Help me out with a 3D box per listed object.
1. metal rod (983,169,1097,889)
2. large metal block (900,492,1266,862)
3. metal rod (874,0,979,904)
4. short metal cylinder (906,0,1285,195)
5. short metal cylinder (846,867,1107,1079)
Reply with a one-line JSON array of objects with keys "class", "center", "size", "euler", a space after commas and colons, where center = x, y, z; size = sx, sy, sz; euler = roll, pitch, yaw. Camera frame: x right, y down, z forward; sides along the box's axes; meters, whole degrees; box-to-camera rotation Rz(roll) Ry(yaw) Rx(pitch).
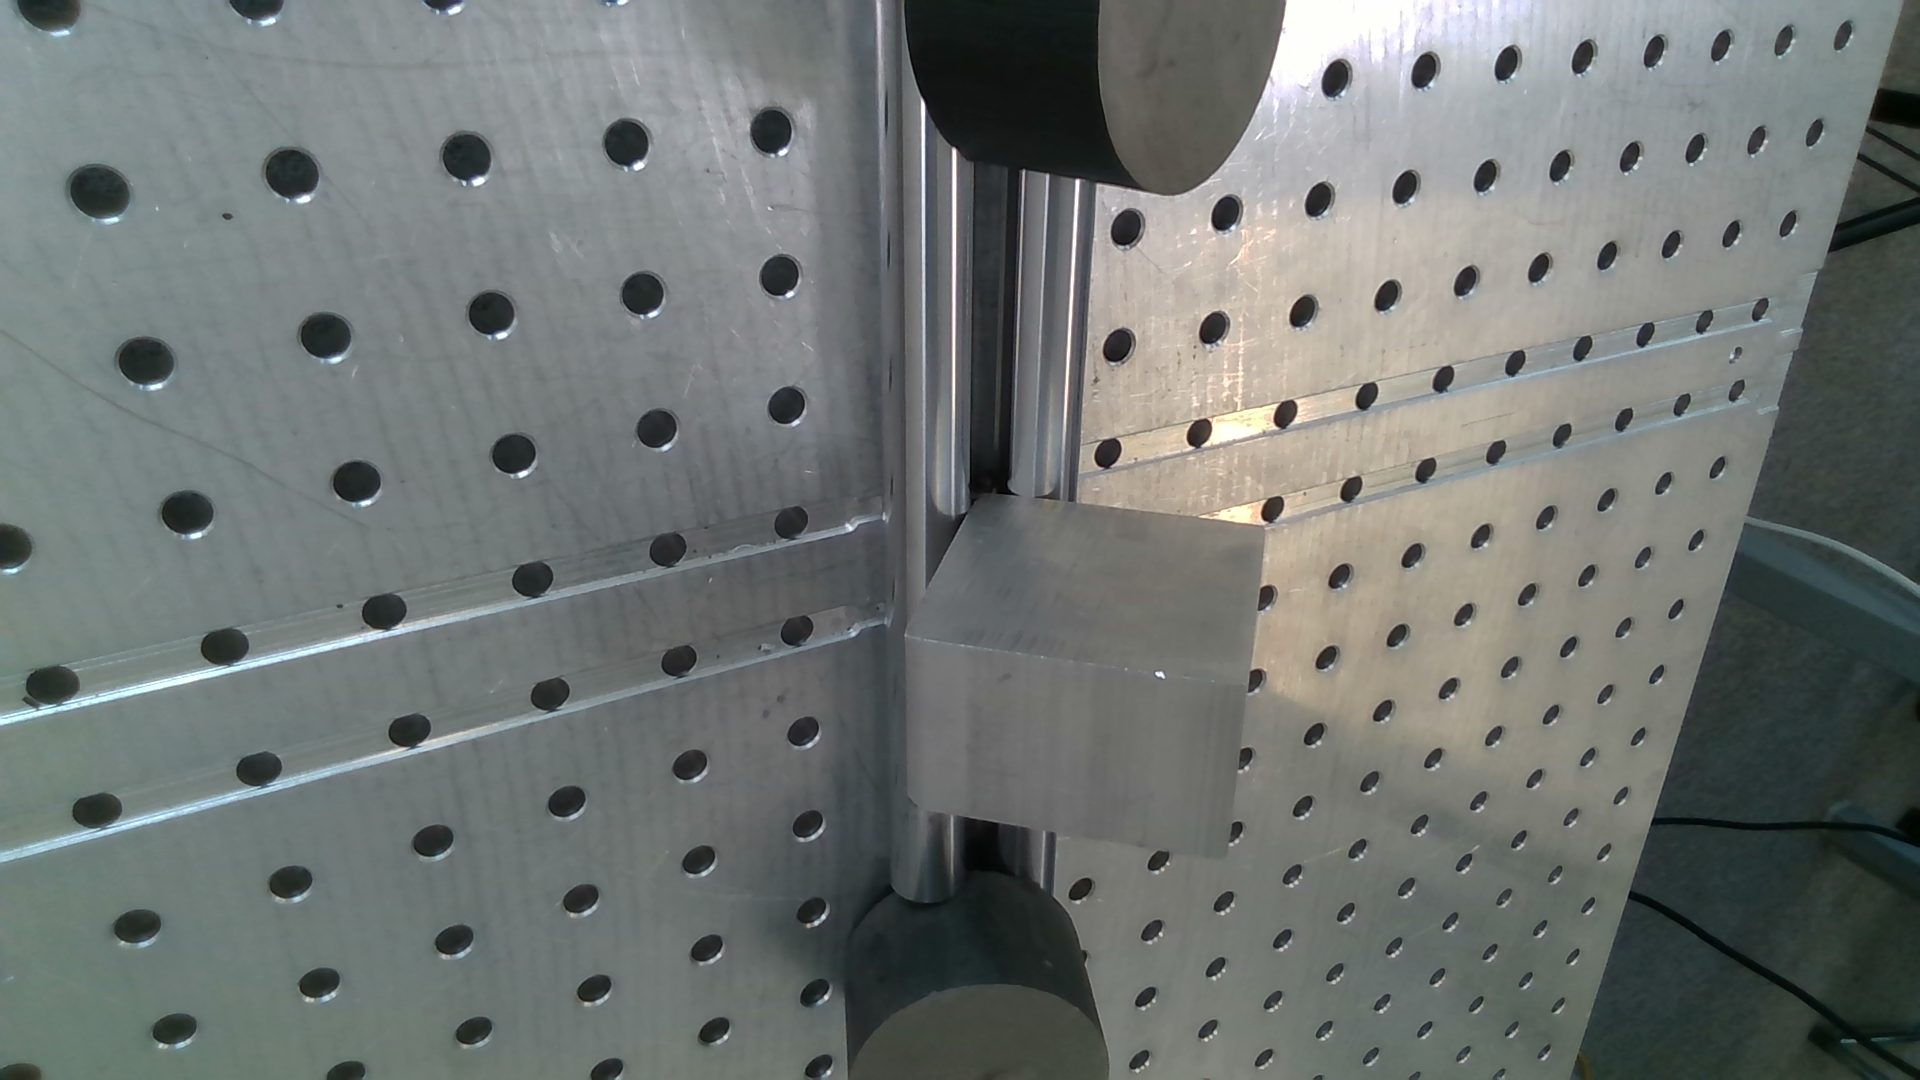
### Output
[{"class": "metal rod", "center": [0.021, 0.034, 0.423], "size": [0.025, 0.025, 0.301], "euler": [-14, 121, -25]}, {"class": "large metal block", "center": [0.034, 0.031, 0.357], "size": [0.080, 0.080, 0.050], "euler": [7, 119, 12]}, {"class": "metal rod", "center": [-0.009, -0.024, 0.374], "size": [0.025, 0.025, 0.301], "euler": [-14, 121, -25]}, {"class": "short metal cylinder", "center": [0.033, -0.123, 0.312], "size": [0.080, 0.050, 0.080], "euler": [-31, 131, -43]}, {"class": "short metal cylinder", "center": [0.003, 0.154, 0.445], "size": [0.080, 0.050, 0.080], "euler": [-3, 118, -6]}]
